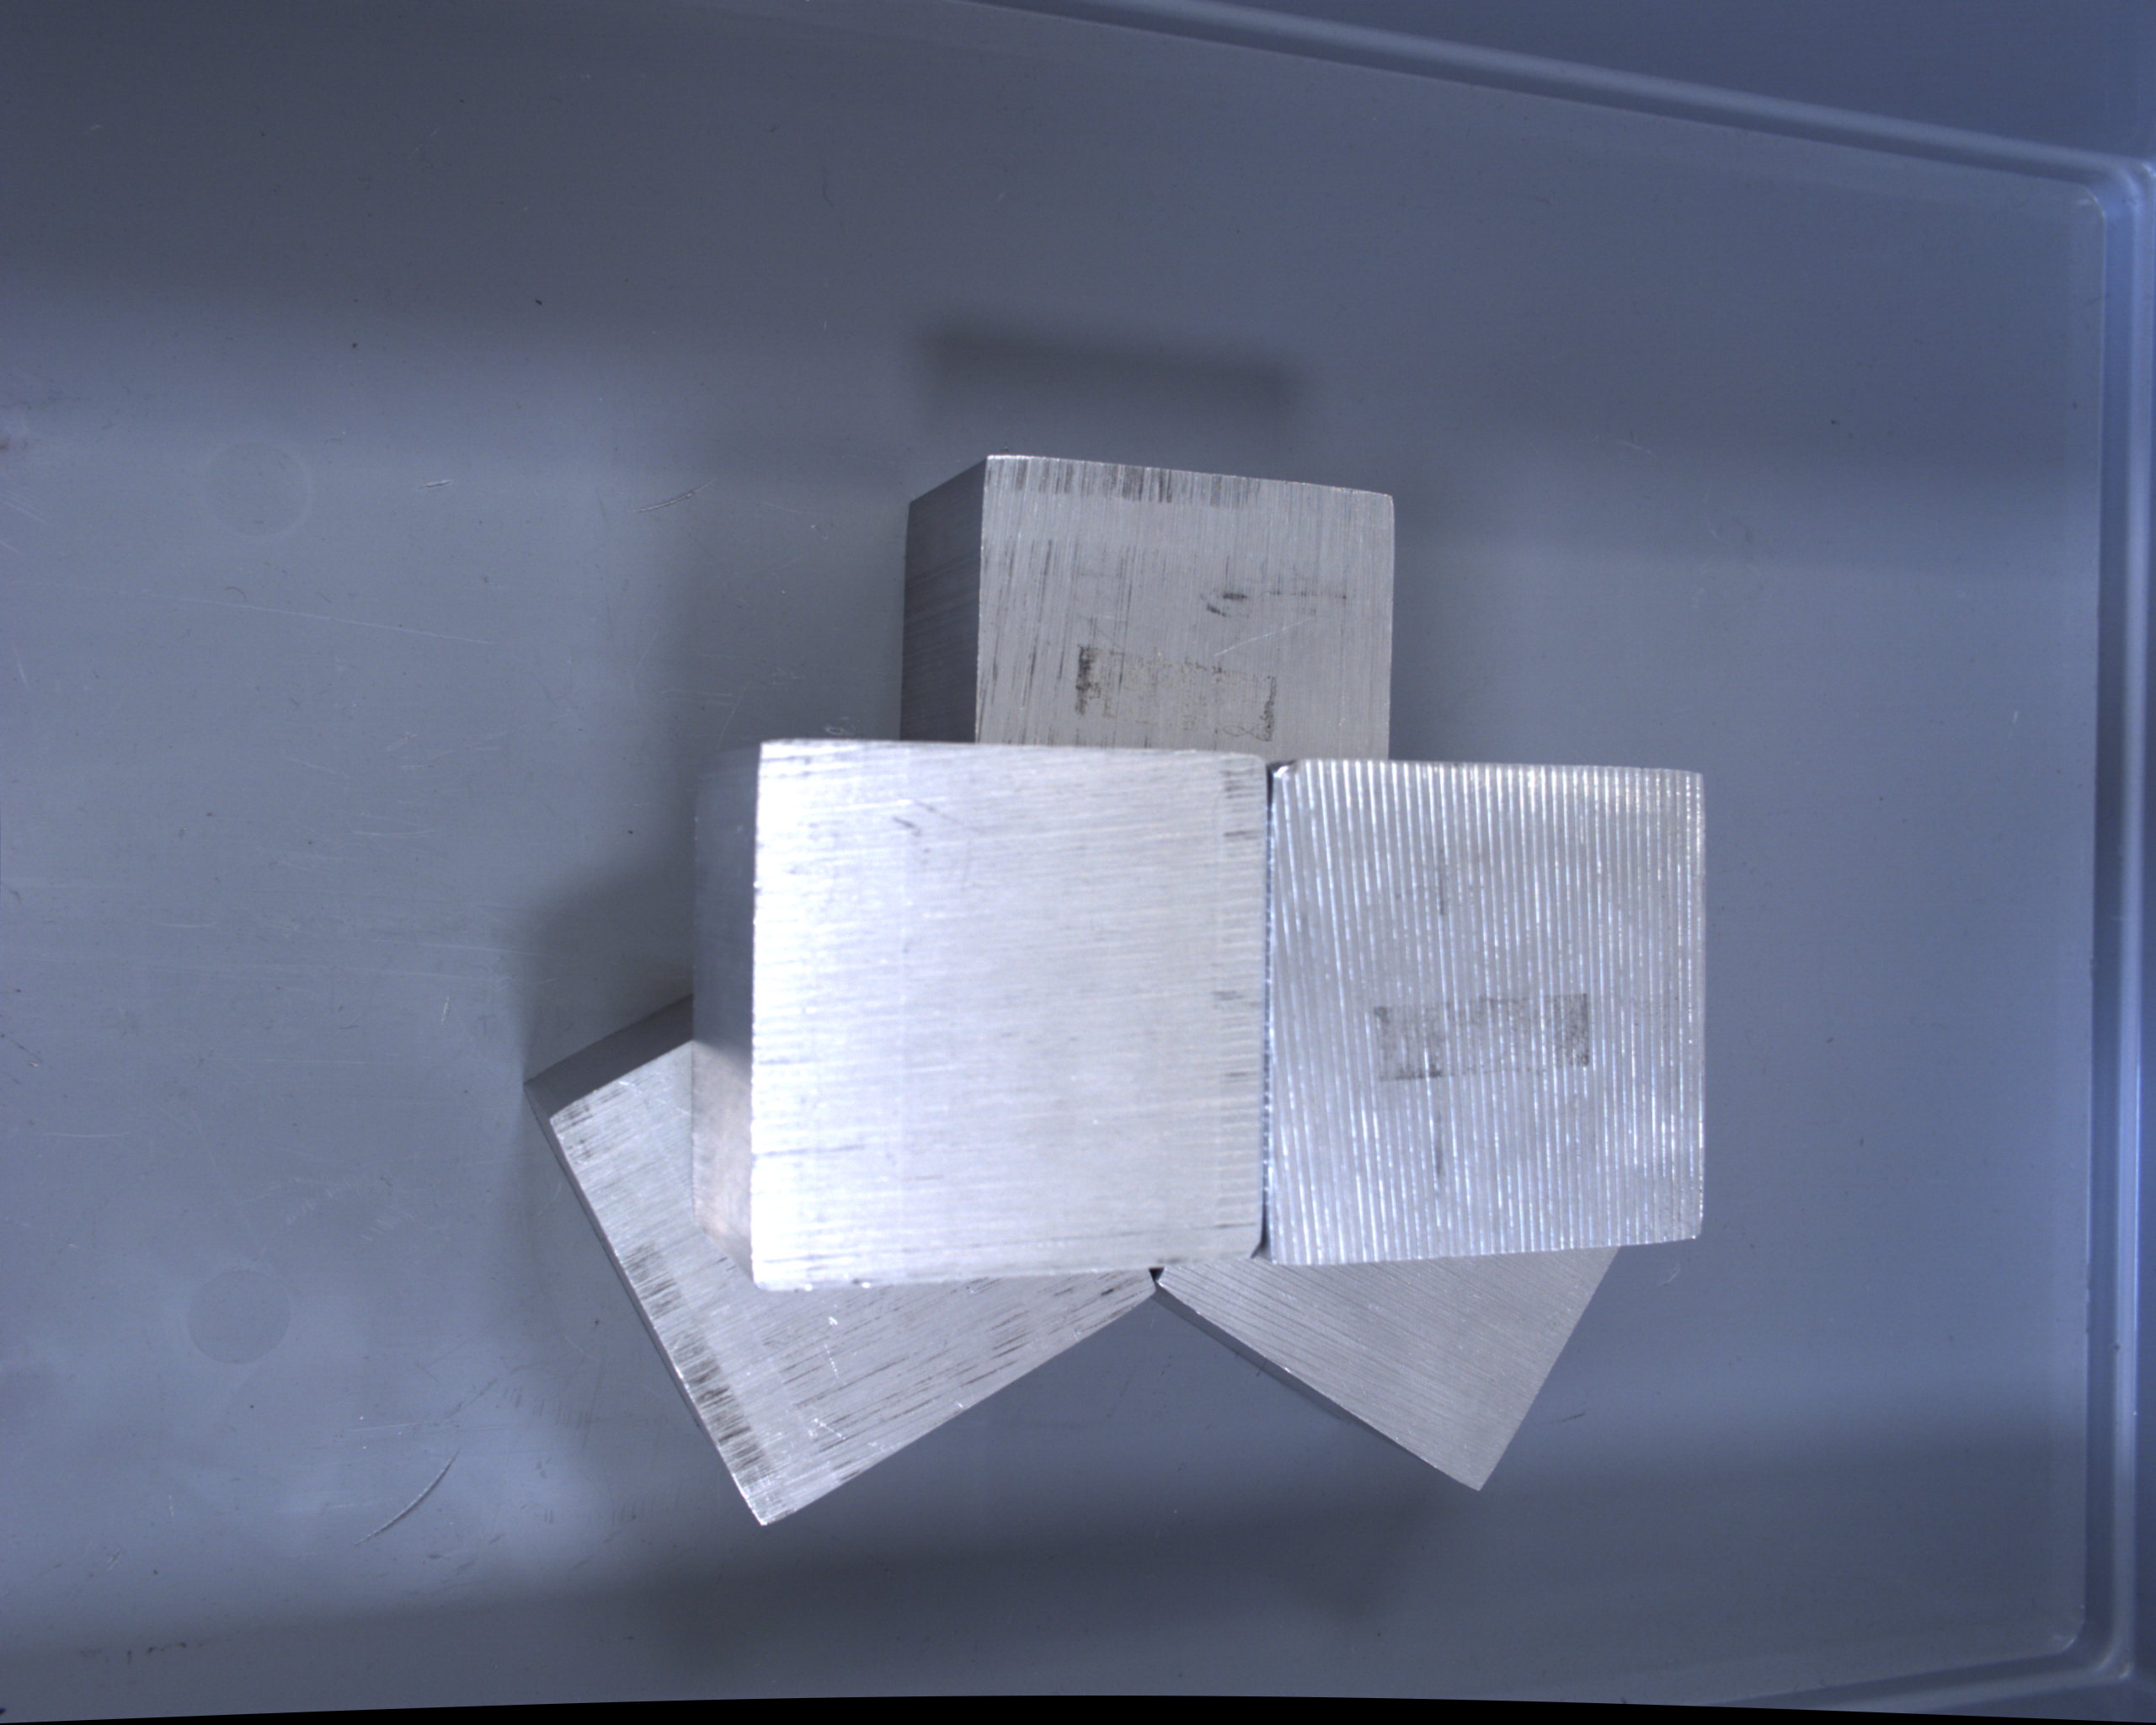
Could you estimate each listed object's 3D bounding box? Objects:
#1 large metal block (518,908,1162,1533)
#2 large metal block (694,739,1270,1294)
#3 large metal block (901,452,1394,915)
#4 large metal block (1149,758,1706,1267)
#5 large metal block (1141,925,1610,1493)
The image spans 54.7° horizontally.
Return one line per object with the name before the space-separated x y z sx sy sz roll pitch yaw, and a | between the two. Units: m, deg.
large metal block | -0.044 0.059 0.379 0.081 0.050 0.080 -28 99 -18
large metal block | -0.017 0.022 0.336 0.081 0.050 0.080 1 90 -20
large metal block | 0.012 -0.031 0.400 0.081 0.050 0.080 2 90 -20
large metal block | 0.059 0.024 0.363 0.081 0.050 0.080 1 90 -20
large metal block | 0.057 0.064 0.415 0.080 0.050 0.080 36 79 -16
